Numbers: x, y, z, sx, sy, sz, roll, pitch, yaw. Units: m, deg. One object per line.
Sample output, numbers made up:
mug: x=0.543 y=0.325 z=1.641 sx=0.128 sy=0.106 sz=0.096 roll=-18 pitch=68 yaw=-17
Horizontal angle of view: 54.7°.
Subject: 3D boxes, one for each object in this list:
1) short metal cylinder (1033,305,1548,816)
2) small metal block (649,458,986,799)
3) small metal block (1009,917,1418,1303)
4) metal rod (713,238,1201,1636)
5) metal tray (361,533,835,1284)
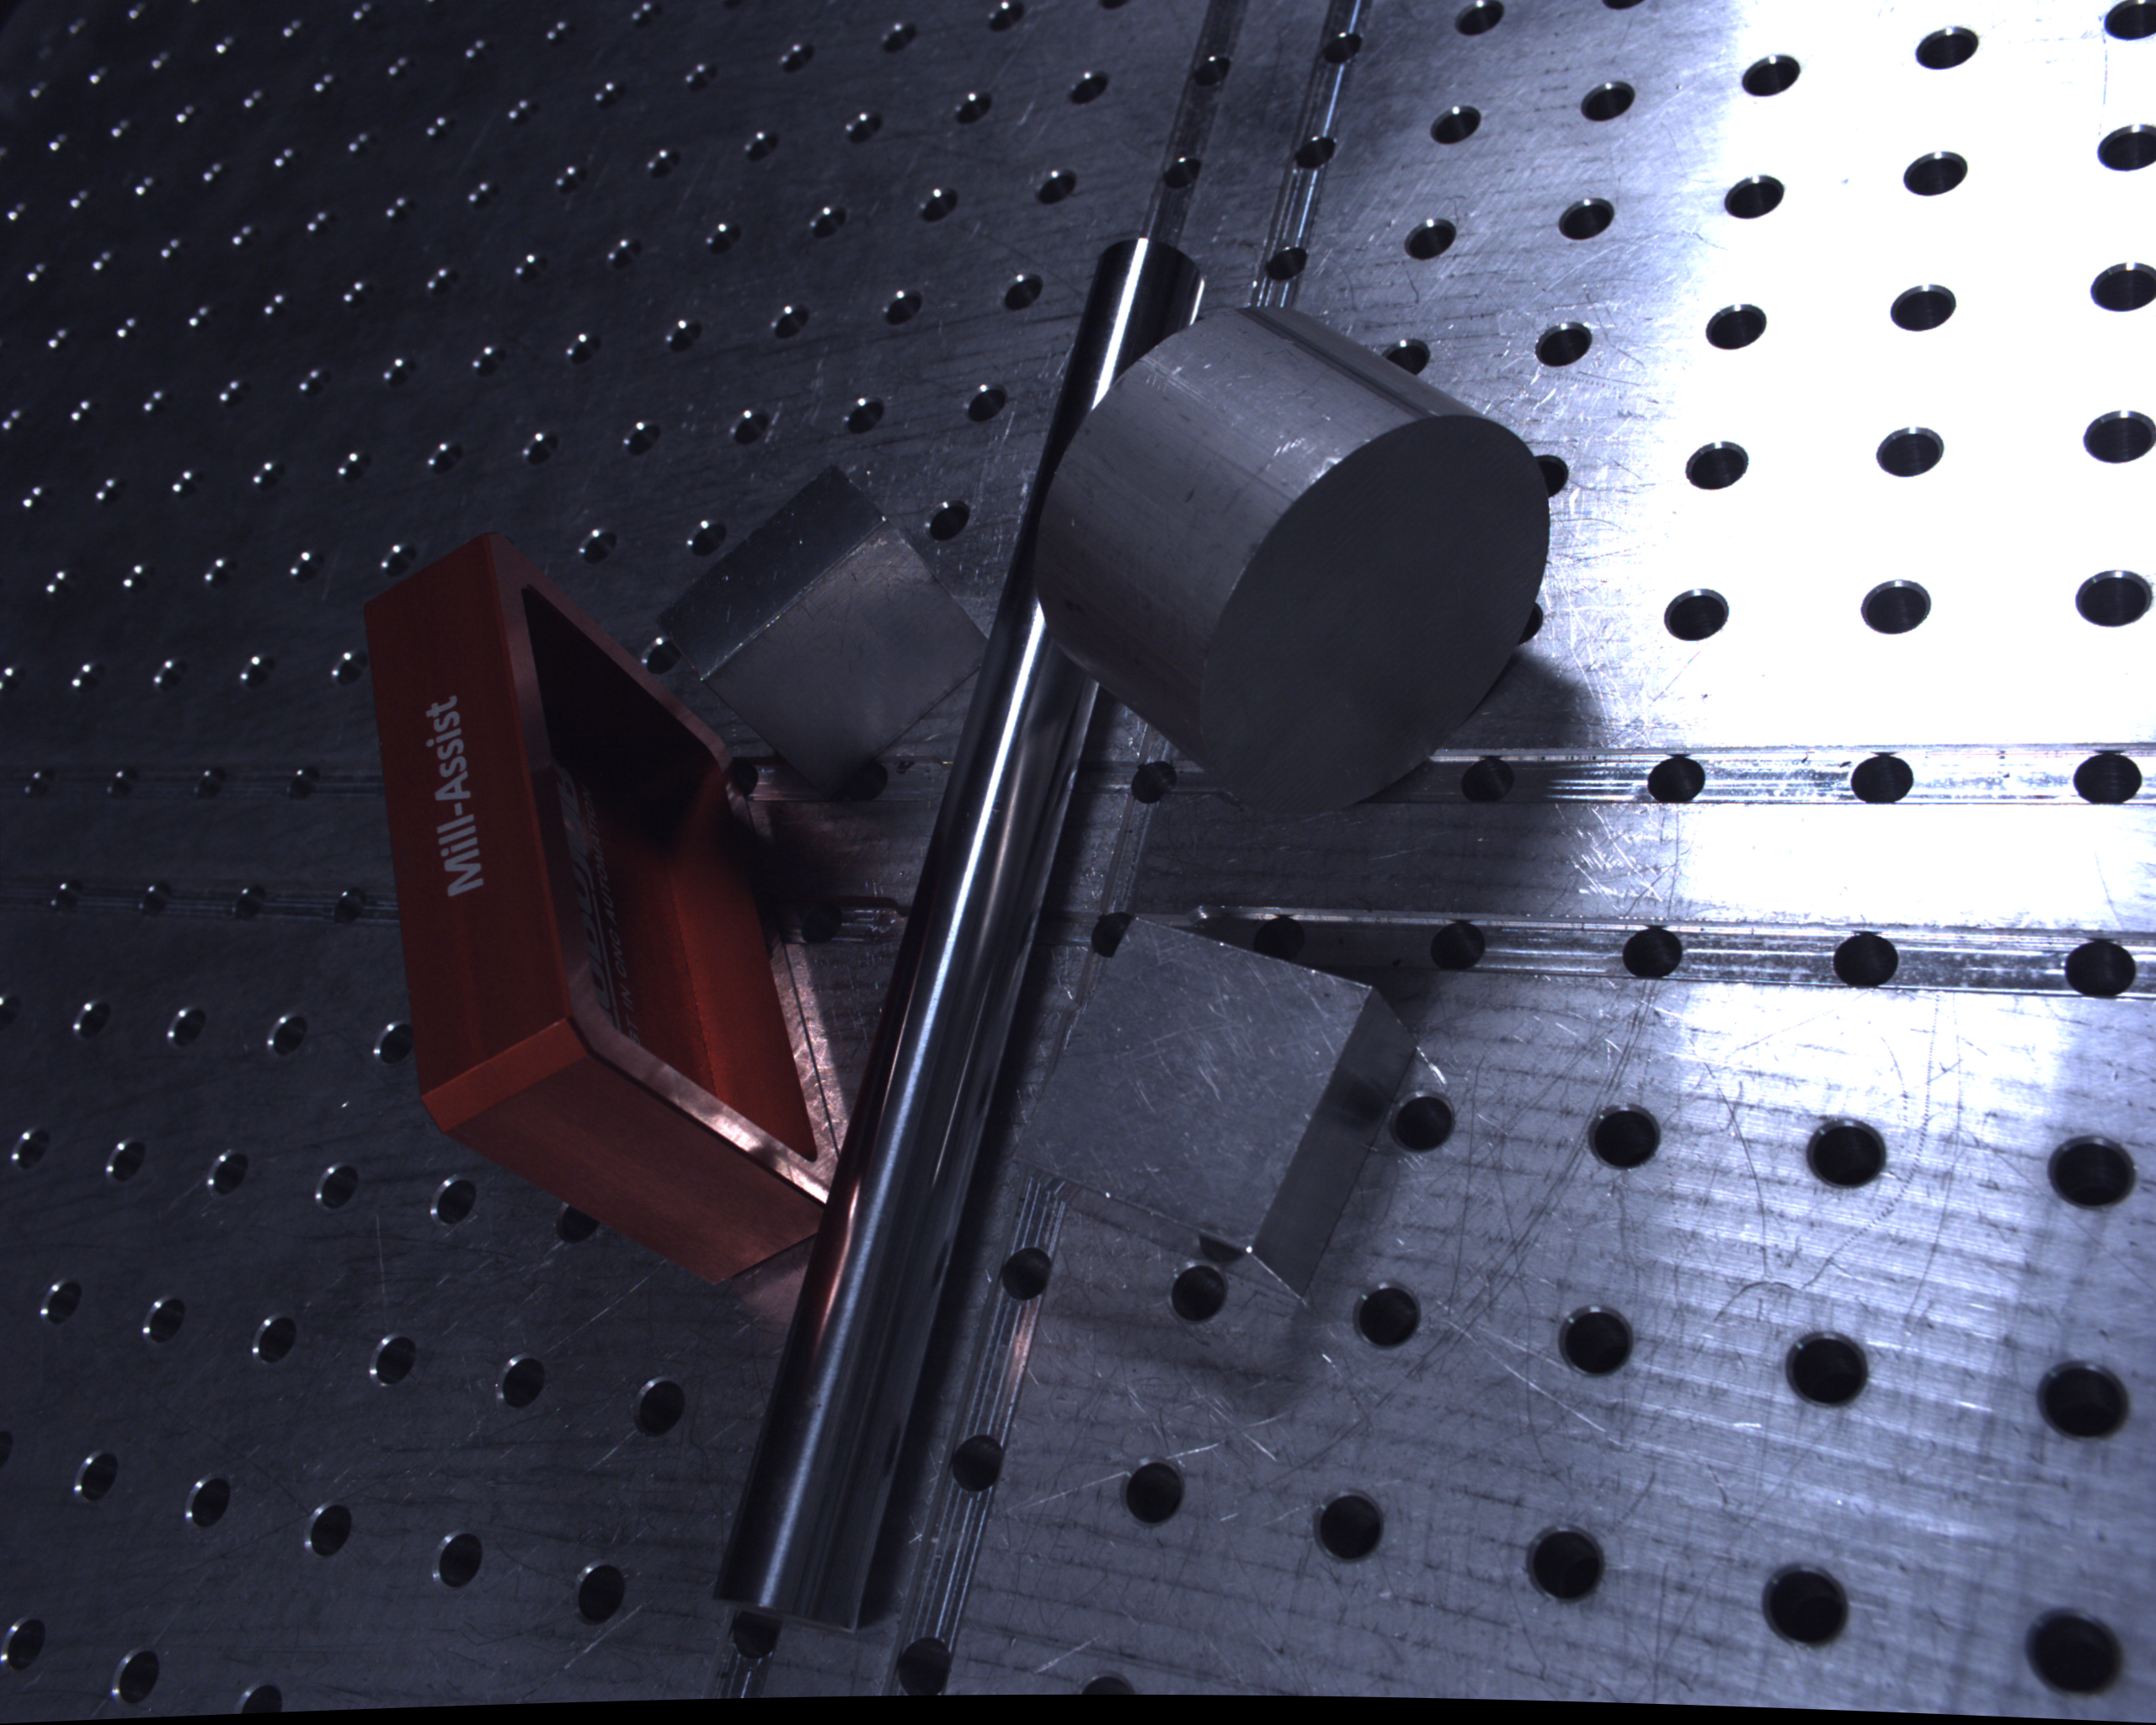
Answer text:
short metal cylinder: x=0.039 y=-0.055 z=0.385 sx=0.080 sy=0.080 sz=0.050 roll=-44 pitch=51 yaw=-3
small metal block: x=-0.054 y=-0.049 z=0.448 sx=0.050 sy=0.050 sz=0.025 roll=-41 pitch=51 yaw=0
small metal block: x=0.024 y=0.043 z=0.369 sx=0.050 sy=0.025 sz=0.050 roll=16 pitch=70 yaw=34
metal rod: x=-0.017 y=-0.003 z=0.417 sx=0.025 sy=0.025 sz=0.300 roll=0 pitch=61 yaw=28
metal tray: x=-0.093 y=0.008 z=0.408 sx=0.030 sy=0.090 sz=0.130 roll=-29 pitch=52 yaw=10
